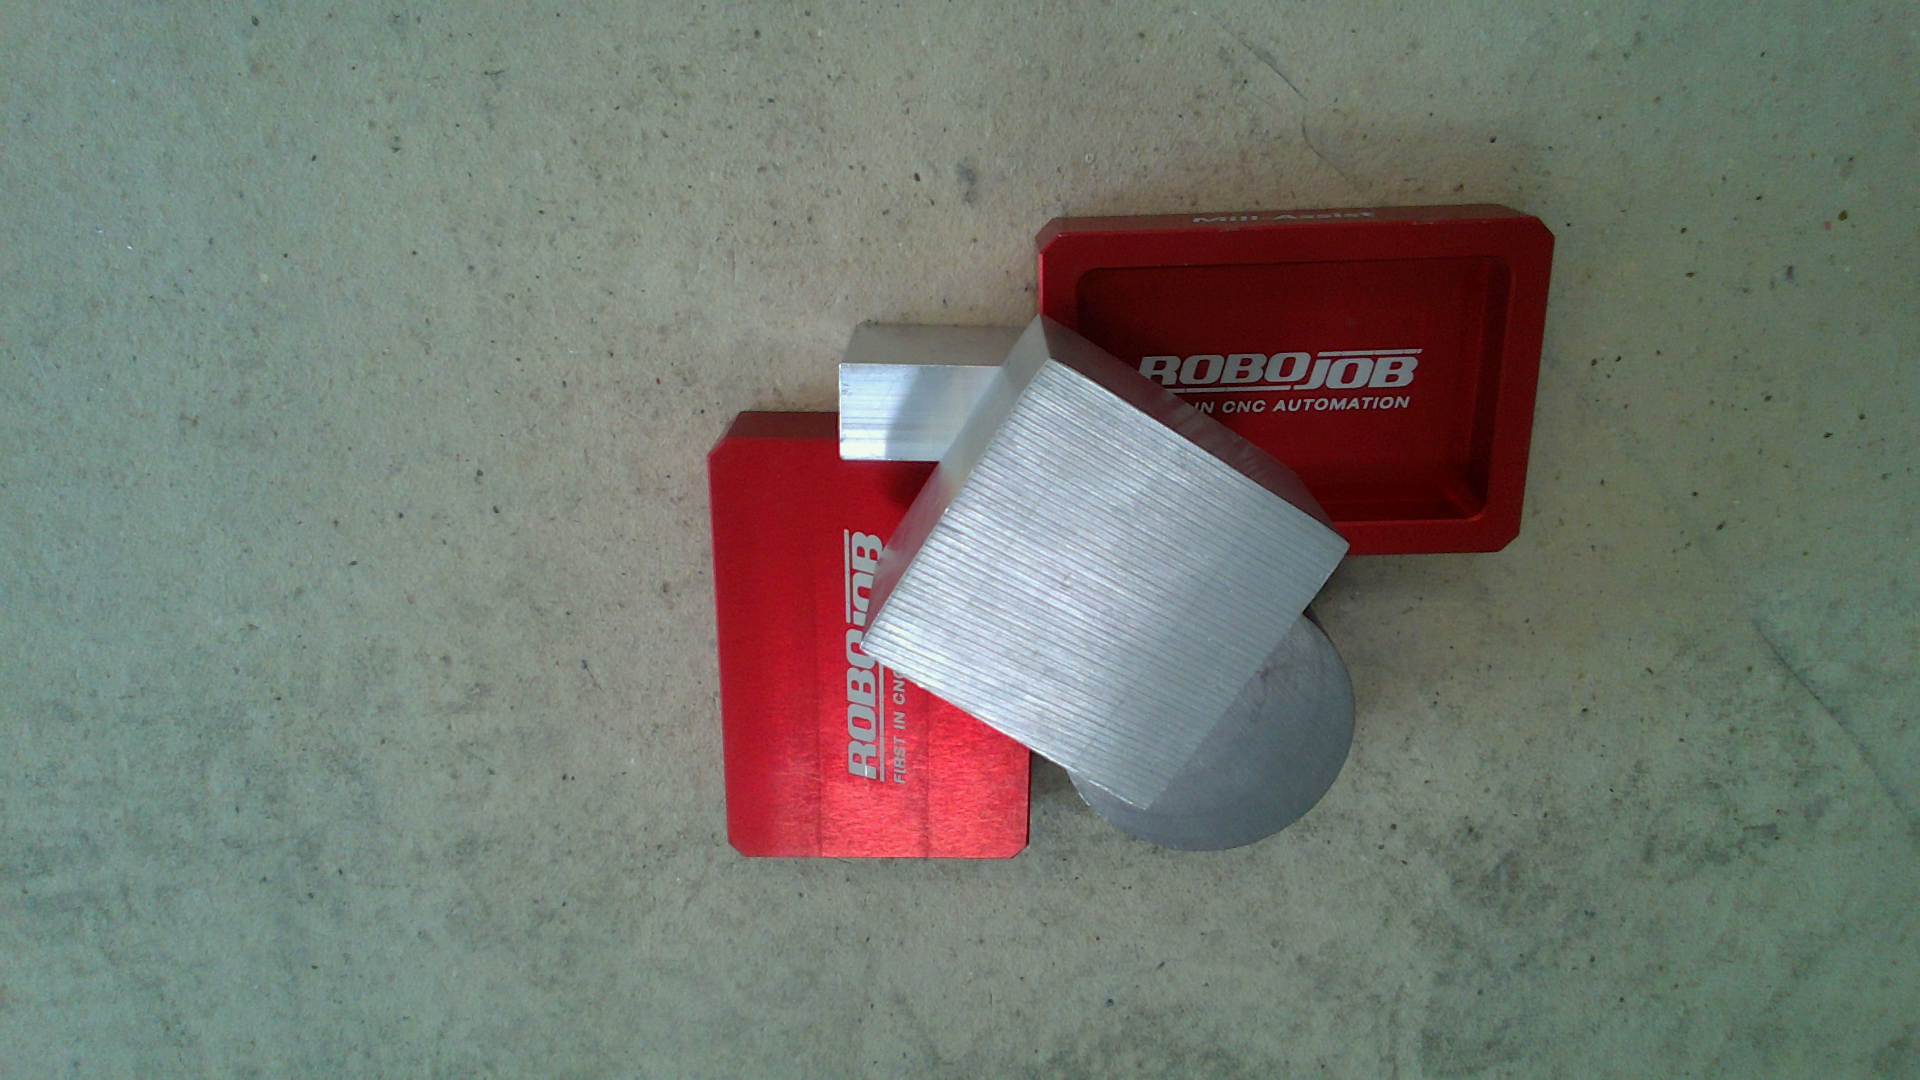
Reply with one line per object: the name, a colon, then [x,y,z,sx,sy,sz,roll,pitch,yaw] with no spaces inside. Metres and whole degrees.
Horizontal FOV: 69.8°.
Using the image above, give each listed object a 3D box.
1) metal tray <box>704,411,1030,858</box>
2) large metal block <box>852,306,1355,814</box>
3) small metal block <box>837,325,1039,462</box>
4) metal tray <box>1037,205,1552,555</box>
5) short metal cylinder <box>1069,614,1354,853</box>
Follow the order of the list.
metal tray: [-0.024,0.029,0.403,0.090,0.030,0.130,1,110,0]
large metal block: [0.031,0.004,0.328,0.080,0.050,0.080,31,107,-11]
small metal block: [-0.005,-0.040,0.366,0.050,0.050,0.025,1,110,0]
metal tray: [0.086,-0.042,0.376,0.130,0.030,0.090,-2,110,0]
short metal cylinder: [0.067,0.042,0.396,0.080,0.050,0.080,0,110,0]
